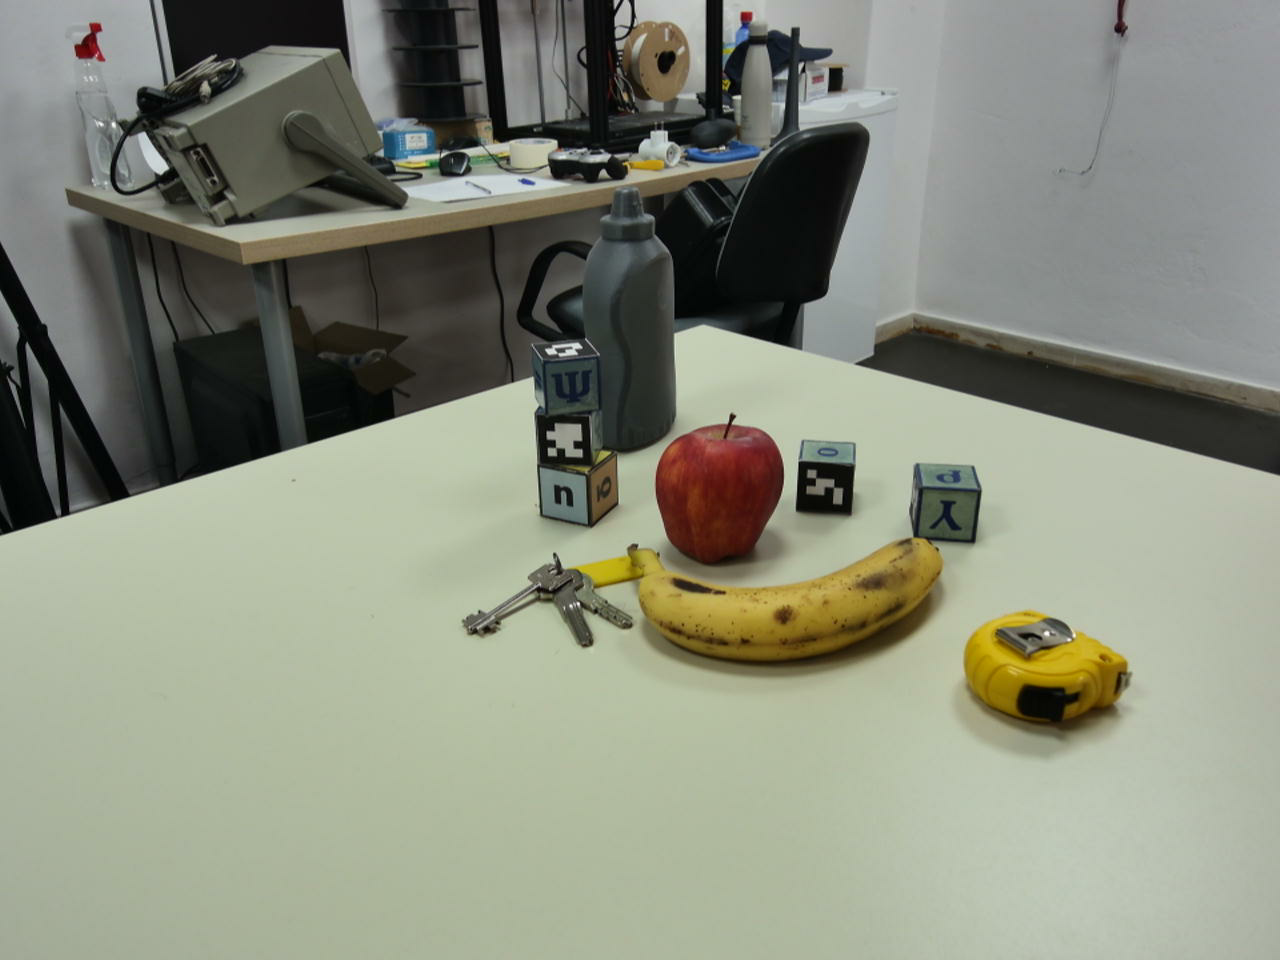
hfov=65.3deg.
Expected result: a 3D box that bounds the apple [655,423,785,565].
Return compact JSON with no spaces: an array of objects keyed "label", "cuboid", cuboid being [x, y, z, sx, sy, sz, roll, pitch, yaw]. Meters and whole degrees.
[{"label":"apple","cuboid":[0.050,0.000,0.618,0.083,0.090,0.083,1,24,0]}]
